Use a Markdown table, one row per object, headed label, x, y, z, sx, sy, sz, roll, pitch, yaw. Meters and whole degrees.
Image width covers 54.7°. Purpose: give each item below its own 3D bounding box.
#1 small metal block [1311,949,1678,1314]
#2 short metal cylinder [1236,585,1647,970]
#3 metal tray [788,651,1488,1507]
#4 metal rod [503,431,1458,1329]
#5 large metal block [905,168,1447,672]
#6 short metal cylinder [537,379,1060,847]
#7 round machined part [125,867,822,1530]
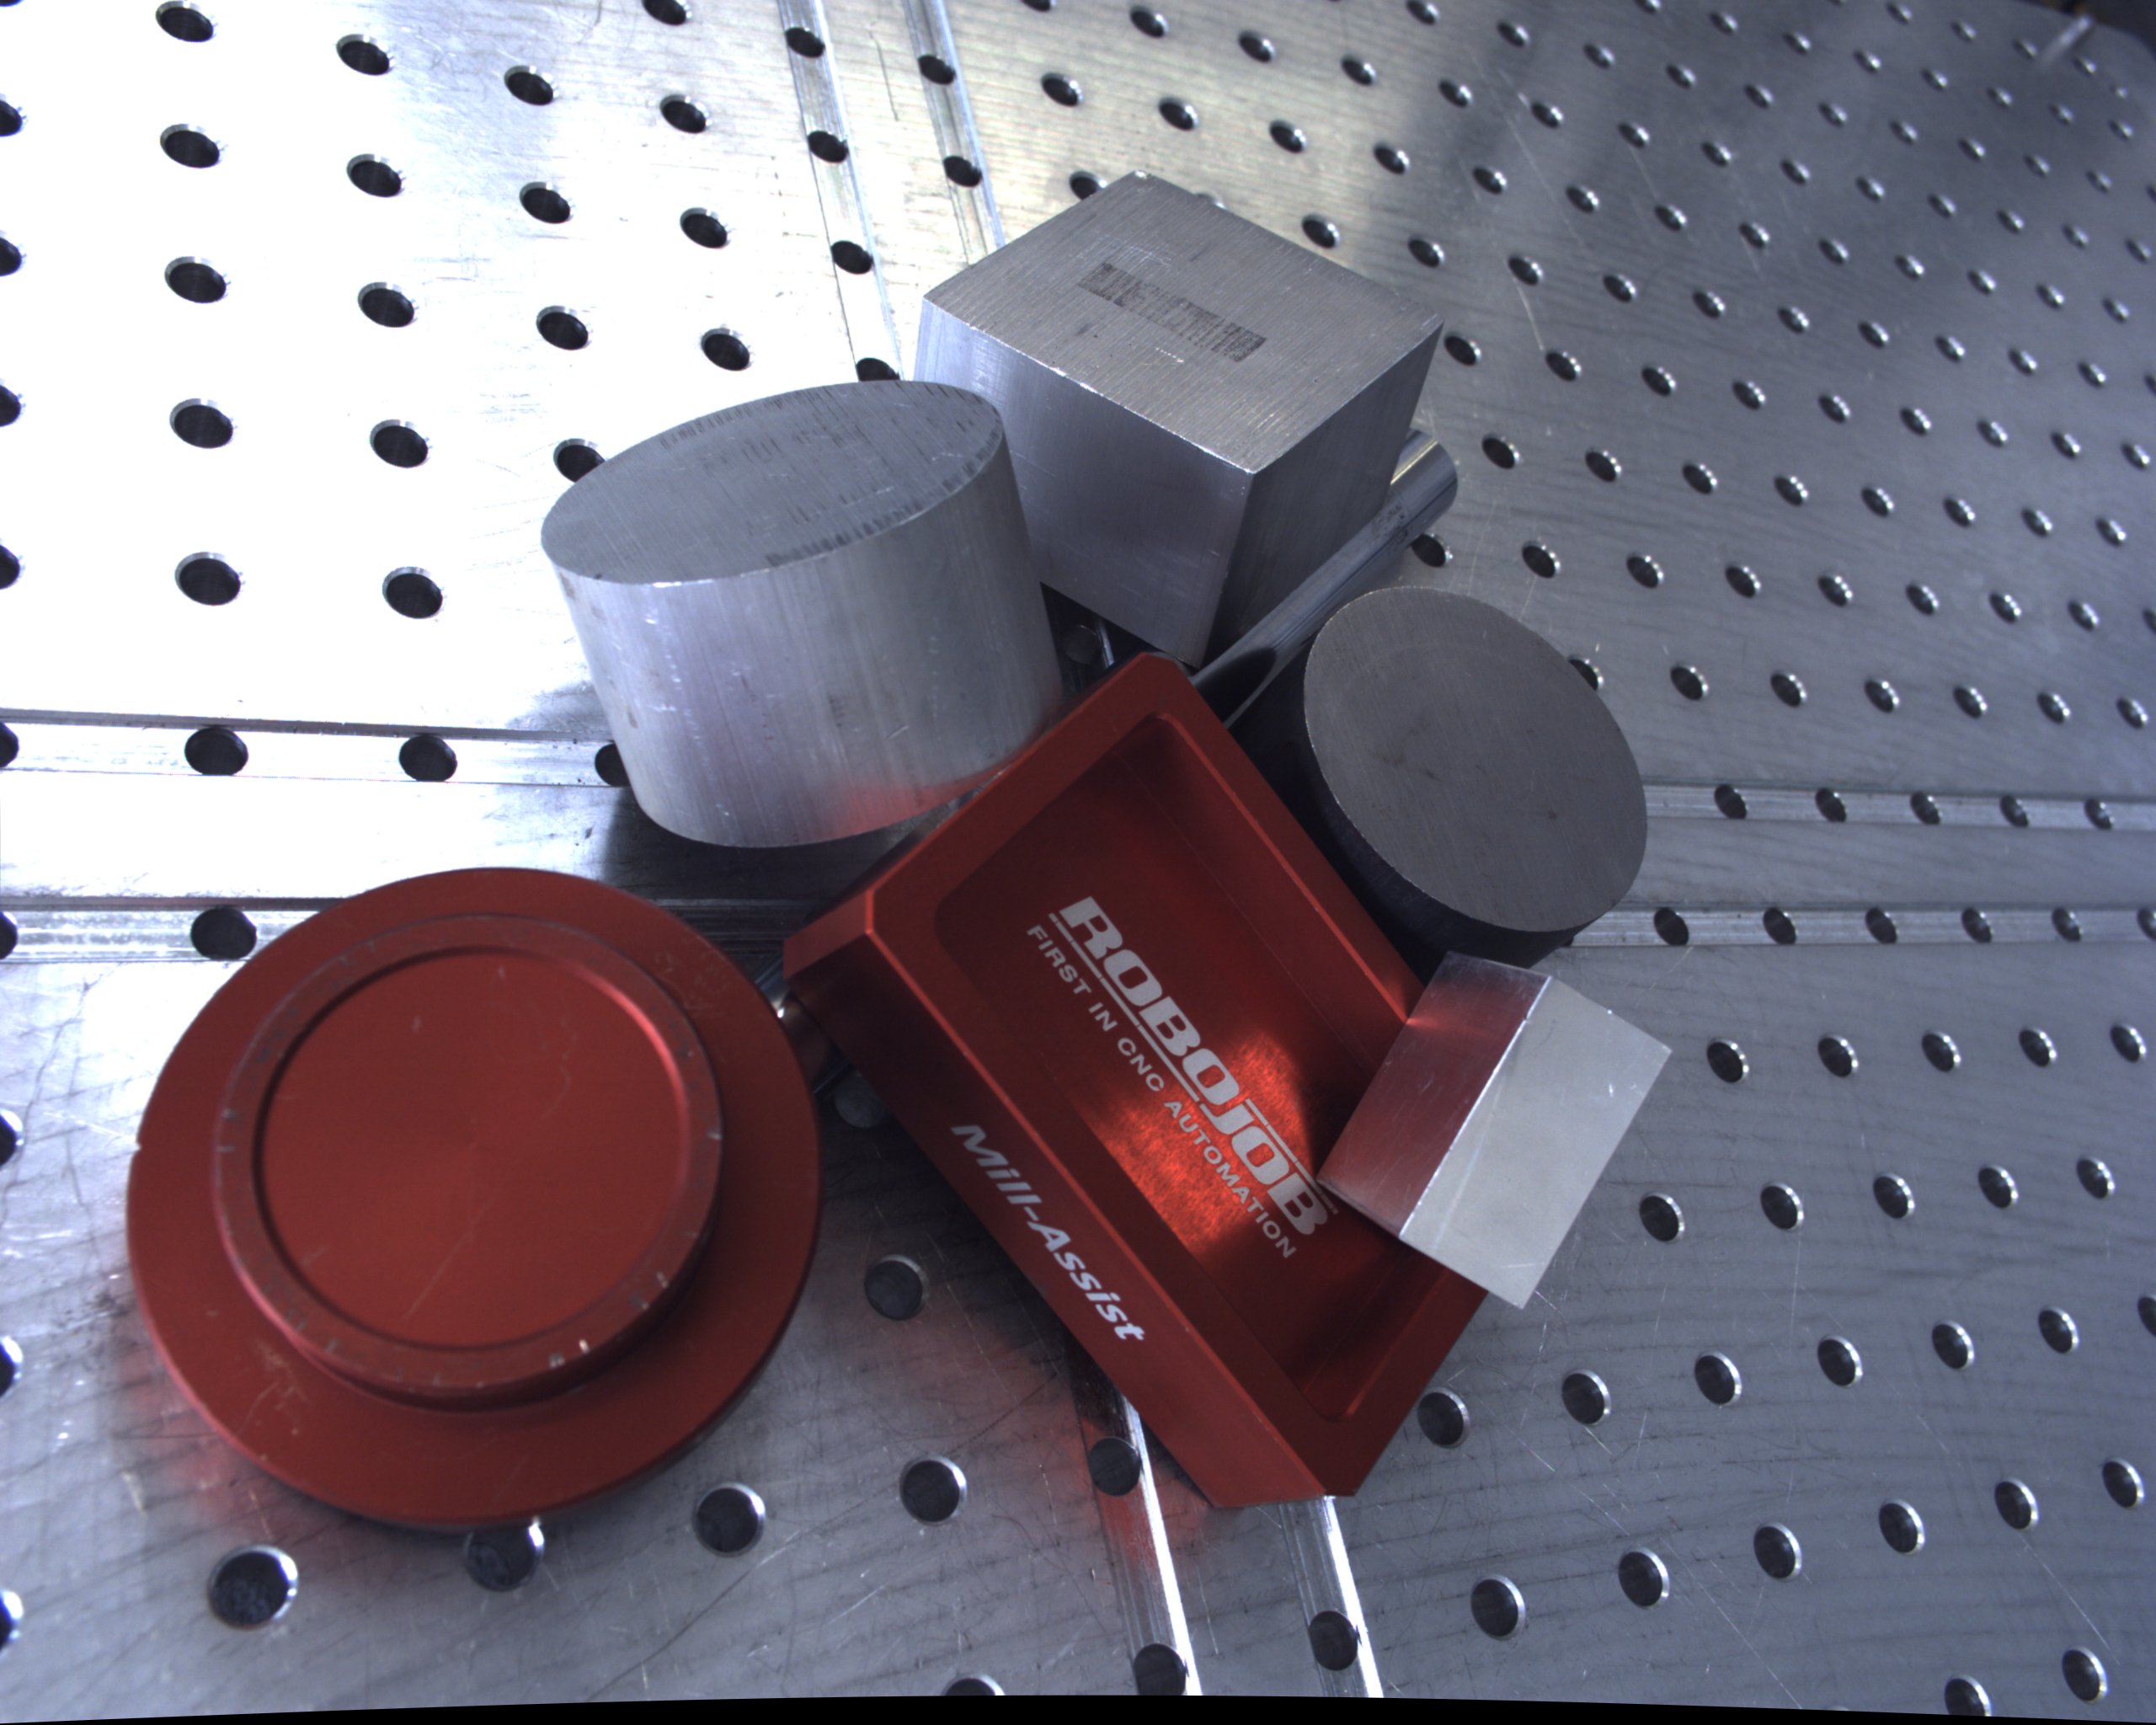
| label | x | y | z | sx | sy | sz | roll | pitch | yaw |
| --- | --- | --- | --- | --- | --- | --- | --- | --- | --- |
| small metal block | 0.071 | 0.045 | 0.365 | 0.025 | 0.050 | 0.050 | 32 | 87 | -11 |
| short metal cylinder | 0.070 | -0.011 | 0.435 | 0.081 | 0.050 | 0.080 | 14 | 56 | -21 |
| metal tray | 0.021 | 0.038 | 0.375 | 0.130 | 0.030 | 0.090 | 52 | 51 | -7 |
| metal rod | -0.004 | -0.013 | 0.416 | 0.025 | 0.025 | 0.302 | 44 | 52 | 2 |
| large metal block | 0.019 | -0.097 | 0.446 | 0.080 | 0.050 | 0.080 | 32 | 49 | 18 |
| short metal cylinder | -0.048 | -0.046 | 0.368 | 0.080 | 0.050 | 0.080 | -9 | 33 | 6 |
| round machined part | -0.087 | 0.046 | 0.306 | 0.099 | 0.042 | 0.098 | 4 | 68 | -10 |
